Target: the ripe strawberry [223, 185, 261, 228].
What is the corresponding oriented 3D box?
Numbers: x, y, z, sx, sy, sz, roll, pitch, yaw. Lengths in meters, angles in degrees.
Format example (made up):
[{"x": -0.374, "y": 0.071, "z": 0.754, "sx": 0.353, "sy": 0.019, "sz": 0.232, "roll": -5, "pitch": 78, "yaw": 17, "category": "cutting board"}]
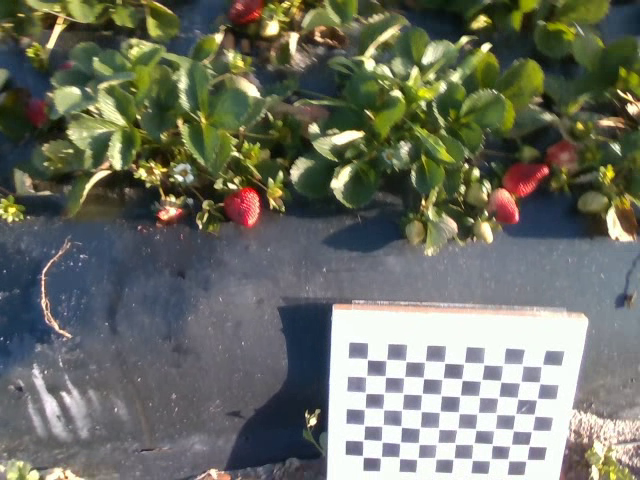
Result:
[{"x": -0.086, "y": -0.033, "z": 0.733, "sx": 0.052, "sy": 0.052, "sz": 0.041, "roll": -26, "pitch": -40, "yaw": 6, "category": "ripe strawberry"}]
